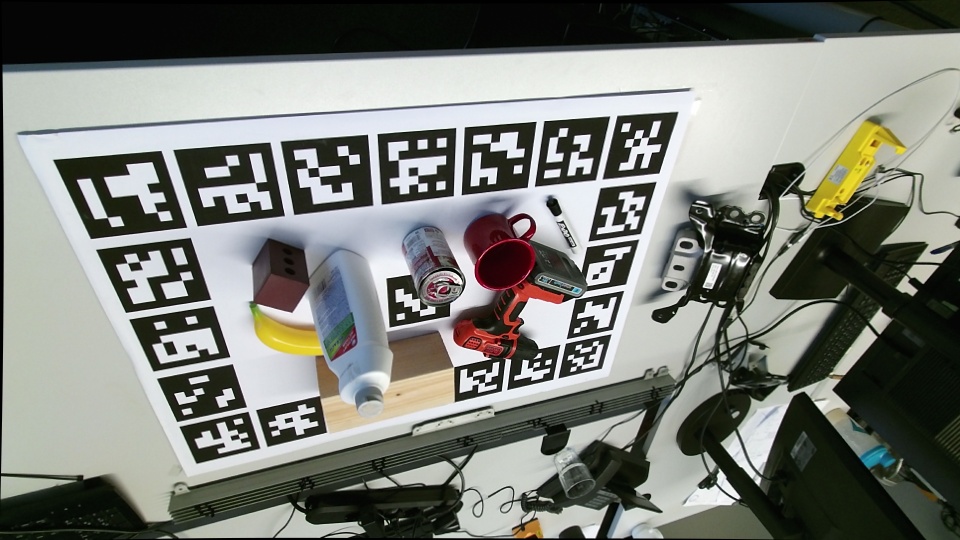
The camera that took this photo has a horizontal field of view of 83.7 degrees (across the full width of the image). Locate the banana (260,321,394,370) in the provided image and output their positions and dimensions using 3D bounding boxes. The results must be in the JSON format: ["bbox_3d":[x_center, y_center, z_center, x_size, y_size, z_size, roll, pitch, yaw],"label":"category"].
[{"bbox_3d":[-0.230,0.116,0.812,0.198,0.039,0.074,5,109,-24],"label":"banana"}]

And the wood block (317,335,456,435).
[{"bbox_3d":[-0.150,0.187,0.872,0.207,0.090,0.090,-10,128,-16],"label":"wood block"}]

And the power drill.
[{"bbox_3d":[0.070,0.073,0.905,0.185,0.057,0.187,19,118,-30],"label":"power drill"}]

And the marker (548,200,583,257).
[{"bbox_3d":[0.136,-0.066,0.847,0.020,0.019,0.121,-34,131,1],"label":"marker"}]

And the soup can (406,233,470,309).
[{"bbox_3d":[-0.061,0.004,0.751,0.068,0.101,0.068,-12,133,-13],"label":"soup can"}]

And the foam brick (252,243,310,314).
[{"bbox_3d":[-0.260,0.012,0.698,0.053,0.078,0.051,22,116,-37],"label":"foam brick"}]

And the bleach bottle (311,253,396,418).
[{"bbox_3d":[-0.158,0.087,0.683,0.068,0.249,0.102,17,118,-34],"label":"bleach bottle"}]

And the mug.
[{"bbox_3d":[0.037,-0.026,0.790,0.093,0.081,0.117,34,104,-36],"label":"mug"}]
